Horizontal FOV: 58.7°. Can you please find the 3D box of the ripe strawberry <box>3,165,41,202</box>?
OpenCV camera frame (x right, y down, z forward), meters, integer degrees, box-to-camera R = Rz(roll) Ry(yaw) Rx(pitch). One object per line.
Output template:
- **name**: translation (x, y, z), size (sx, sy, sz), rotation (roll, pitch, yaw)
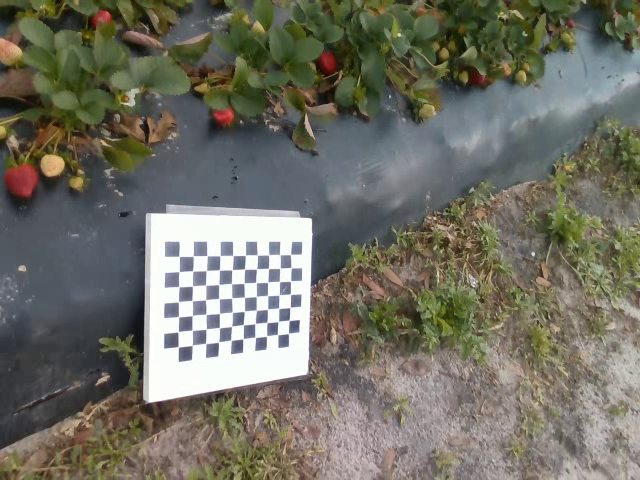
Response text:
- **ripe strawberry**: translation (-0.386, -0.076, 0.740), size (0.050, 0.034, 0.059), rotation (-14, 53, -35)
